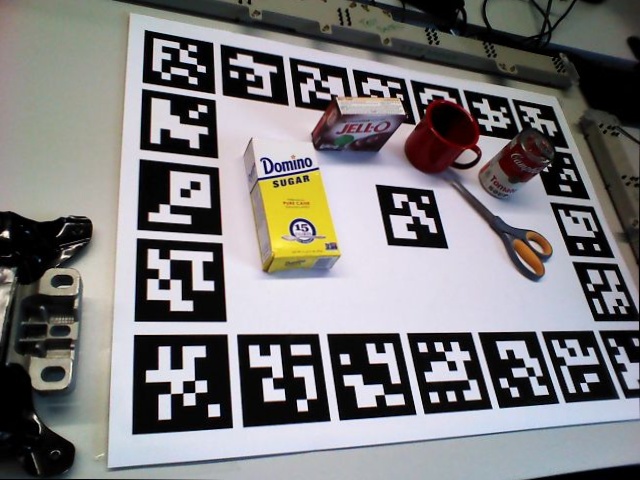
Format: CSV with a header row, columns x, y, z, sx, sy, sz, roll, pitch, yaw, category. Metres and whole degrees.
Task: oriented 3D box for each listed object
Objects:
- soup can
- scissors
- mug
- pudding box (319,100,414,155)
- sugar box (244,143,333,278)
x,y,z,sx,sy,sz,roll,pitch,yaw,category
0.316,-0.109,0.820,0.068,0.103,0.067,9,61,-17,soup can
0.293,-0.009,0.802,0.203,0.016,0.087,46,67,3,scissors
0.203,-0.150,0.799,0.093,0.082,0.117,-36,81,-29,mug
0.066,-0.161,0.740,0.113,0.090,0.038,-6,74,-25,pudding box
-0.043,-0.040,0.672,0.092,0.045,0.175,0,67,-20,sugar box
